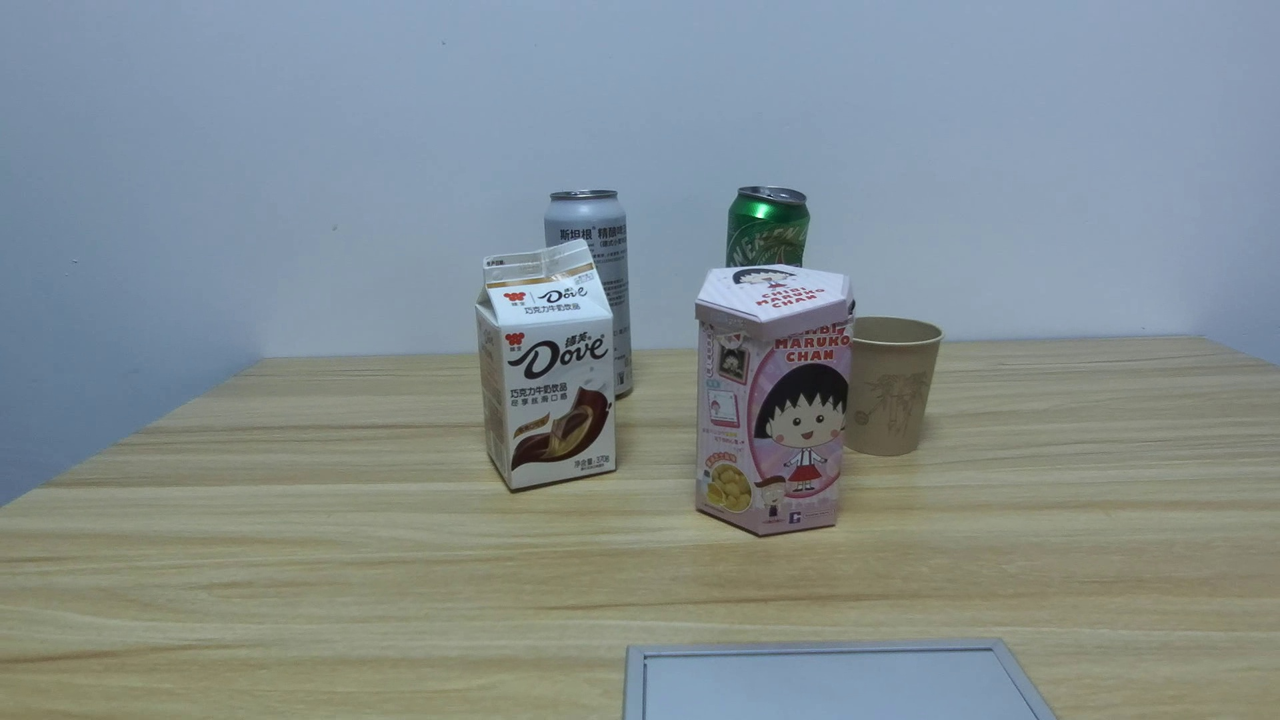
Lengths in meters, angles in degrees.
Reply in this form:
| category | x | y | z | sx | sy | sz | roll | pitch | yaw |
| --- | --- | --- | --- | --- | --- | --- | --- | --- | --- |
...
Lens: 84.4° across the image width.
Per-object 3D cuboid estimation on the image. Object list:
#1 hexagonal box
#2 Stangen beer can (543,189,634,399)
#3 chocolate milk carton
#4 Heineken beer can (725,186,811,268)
| category | x | y | z | sx | sy | sz | roll | pitch | yaw |
| --- | --- | --- | --- | --- | --- | --- | --- | --- | --- |
| hexagonal box | 0.075 | 0.020 | 0.403 | 0.092 | 0.135 | 0.085 | -6 | 19 | -11 |
| Stangen beer can | -0.042 | -0.052 | 0.590 | 0.067 | 0.171 | 0.067 | -3 | 13 | 1 |
| chocolate milk carton | -0.062 | -0.001 | 0.463 | 0.075 | 0.148 | 0.074 | -7 | 18 | -22 |
| Heineken beer can | 0.104 | -0.052 | 0.577 | 0.068 | 0.168 | 0.069 | 0 | 18 | -2 |
